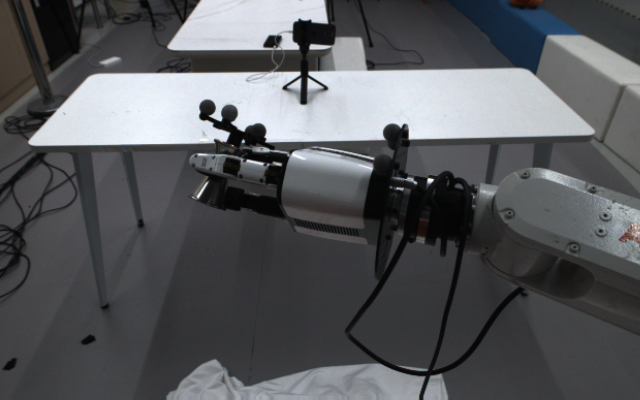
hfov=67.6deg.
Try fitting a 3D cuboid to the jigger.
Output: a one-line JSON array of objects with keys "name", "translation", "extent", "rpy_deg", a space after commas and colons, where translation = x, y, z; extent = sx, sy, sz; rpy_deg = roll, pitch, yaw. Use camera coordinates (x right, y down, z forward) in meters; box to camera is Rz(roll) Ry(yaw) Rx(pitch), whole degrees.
[{"name": "jigger", "translation": [-0.110, -0.028, 0.525], "extent": [0.043, 0.071, 0.043], "rpy_deg": [24, -3, 1]}]
